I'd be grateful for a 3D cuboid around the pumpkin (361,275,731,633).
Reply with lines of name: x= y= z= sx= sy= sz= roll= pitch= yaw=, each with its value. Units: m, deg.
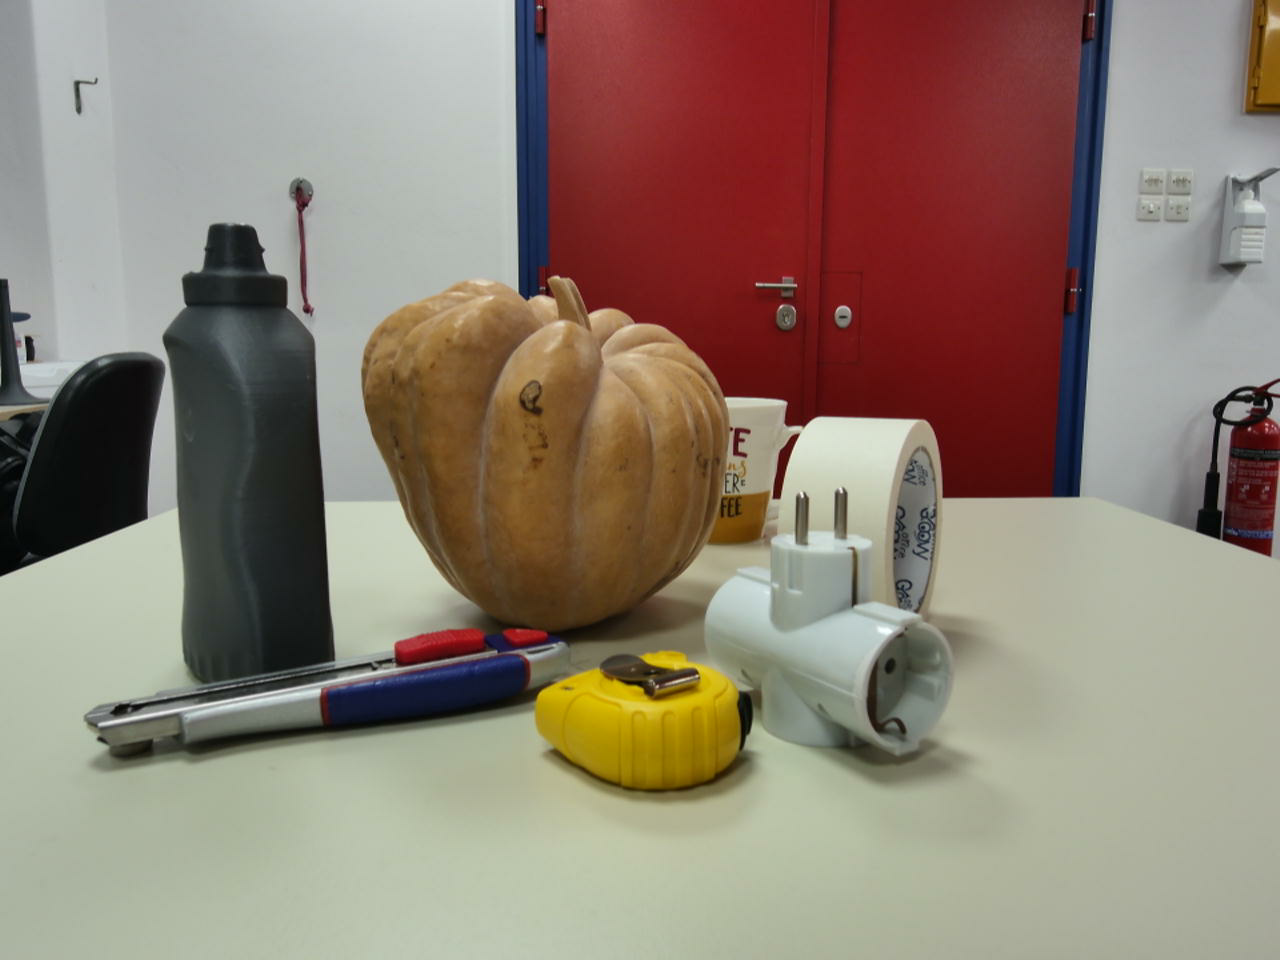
pumpkin: x=-0.047 y=-0.016 z=0.519 sx=0.199 sy=0.177 sz=0.198 roll=-1 pitch=7 yaw=0
